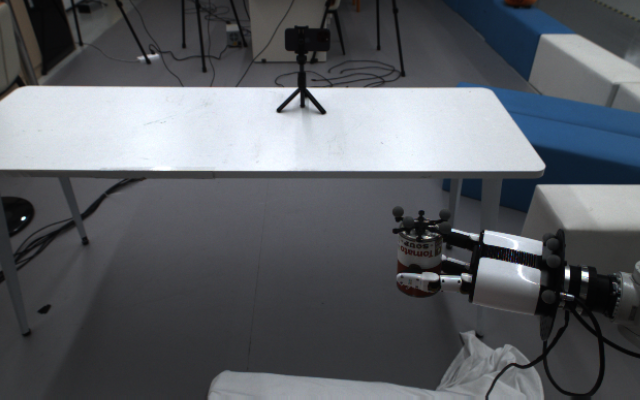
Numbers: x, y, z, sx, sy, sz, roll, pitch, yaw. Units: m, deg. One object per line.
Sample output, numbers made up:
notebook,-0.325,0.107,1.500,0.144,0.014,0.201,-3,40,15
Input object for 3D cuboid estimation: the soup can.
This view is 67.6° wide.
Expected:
soup can,0.153,0.085,0.735,0.067,0.101,0.067,-3,27,2
